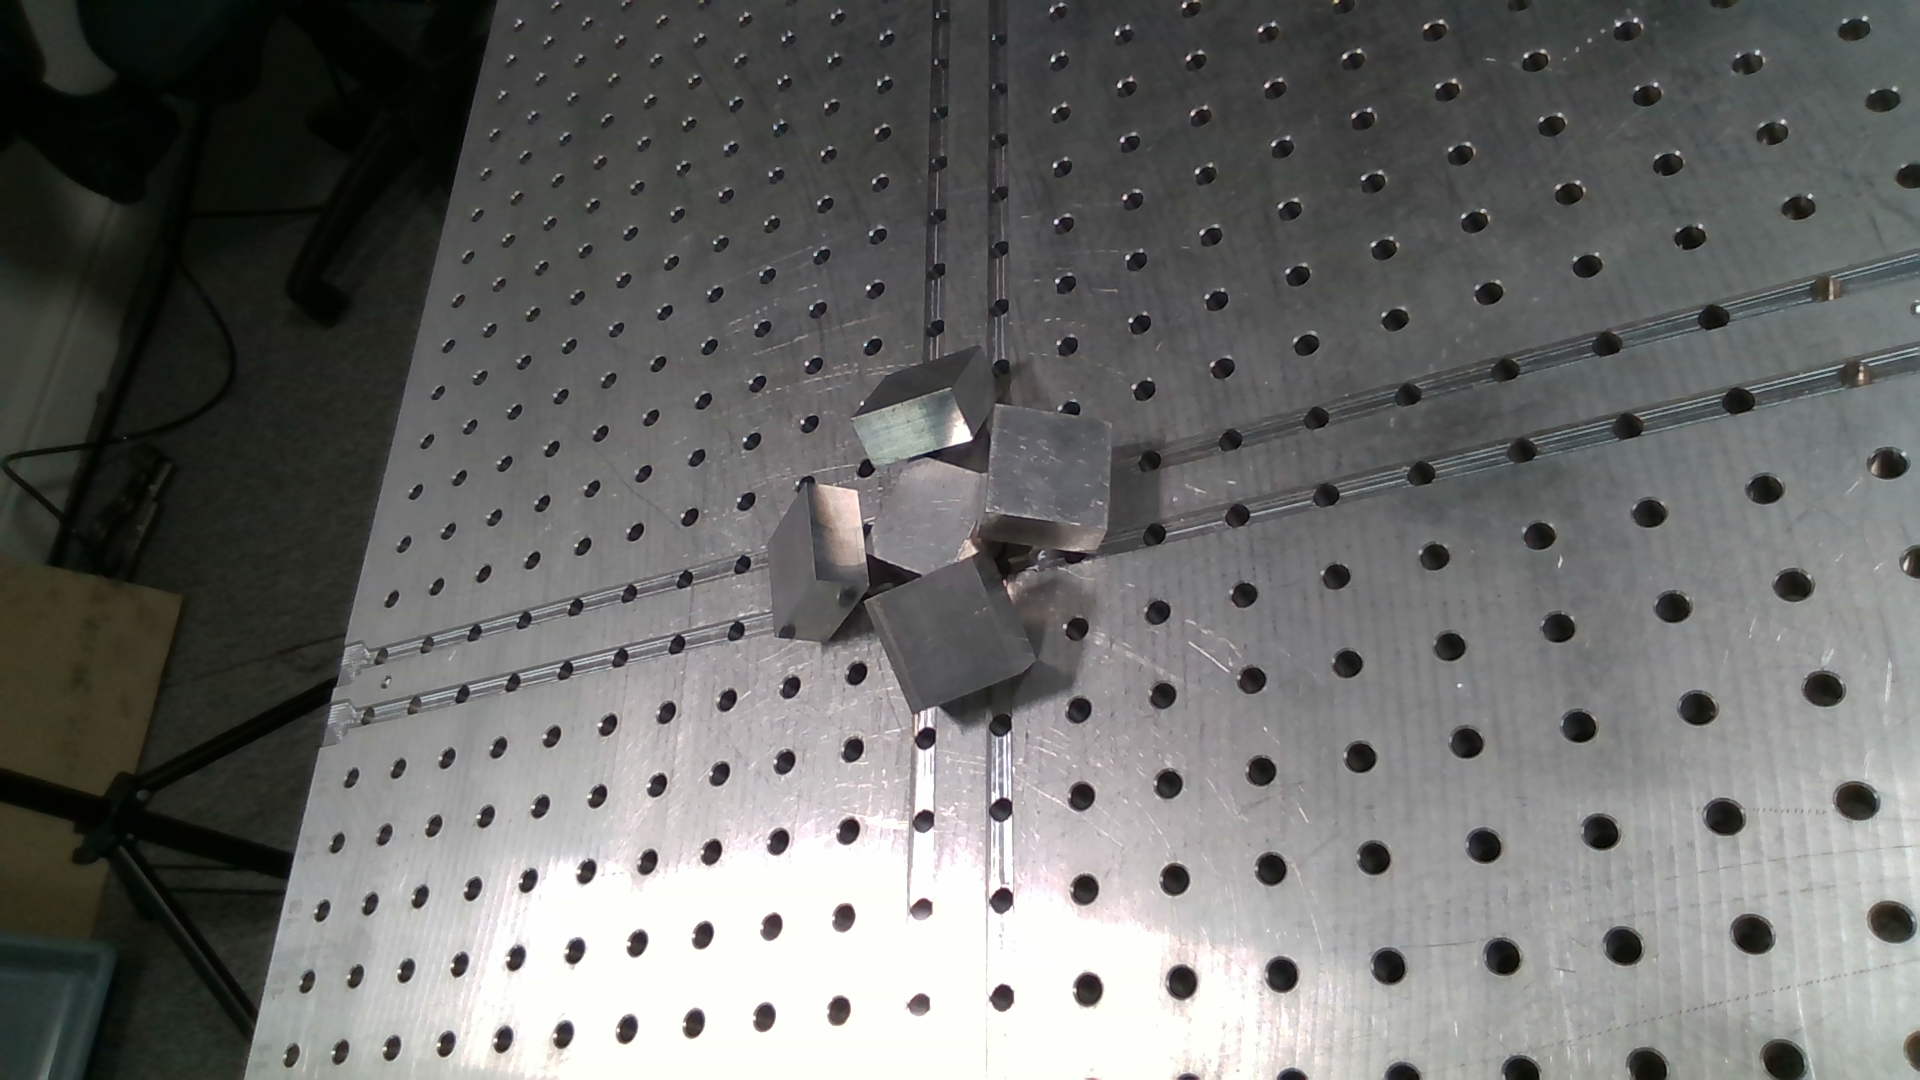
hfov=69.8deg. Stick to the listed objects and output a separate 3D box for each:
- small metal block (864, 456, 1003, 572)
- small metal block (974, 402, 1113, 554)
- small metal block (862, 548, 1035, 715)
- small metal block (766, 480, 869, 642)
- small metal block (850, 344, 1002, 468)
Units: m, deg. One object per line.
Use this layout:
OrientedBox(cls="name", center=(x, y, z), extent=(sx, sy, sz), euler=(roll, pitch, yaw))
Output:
OrientedBox(cls="small metal block", center=(-0.008, -0.006, 0.596), extent=(0.050, 0.025, 0.050), euler=(19, 77, 37))
OrientedBox(cls="small metal block", center=(0.034, -0.025, 0.565), extent=(0.050, 0.025, 0.050), euler=(8, 65, -4))
OrientedBox(cls="small metal block", center=(-0.004, 0.037, 0.556), extent=(0.050, 0.025, 0.050), euler=(-23, 91, 19))
OrientedBox(cls="small metal block", center=(-0.064, 0.010, 0.606), extent=(0.050, 0.025, 0.050), euler=(-51, 39, 47))
OrientedBox(cls="small metal block", center=(-0.014, -0.060, 0.614), extent=(0.050, 0.025, 0.050), euler=(-14, 24, 25))
